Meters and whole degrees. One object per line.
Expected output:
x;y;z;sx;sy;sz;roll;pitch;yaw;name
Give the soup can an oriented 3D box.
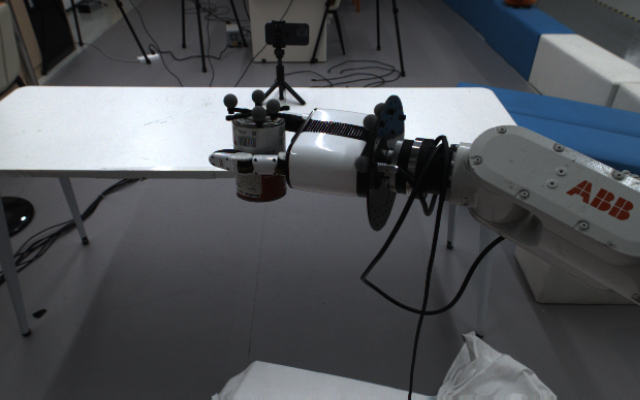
-0.076;-0.056;0.619;0.067;0.101;0.067;1;25;-1;soup can
